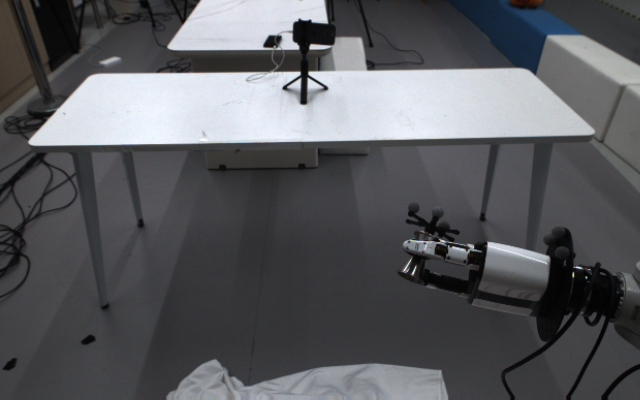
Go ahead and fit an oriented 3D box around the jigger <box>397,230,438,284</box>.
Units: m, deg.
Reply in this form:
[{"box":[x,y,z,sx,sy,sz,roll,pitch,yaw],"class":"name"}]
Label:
[{"box":[0.144,0.081,0.705,0.043,0.043,0.071,20,73,24],"class":"jigger"}]
